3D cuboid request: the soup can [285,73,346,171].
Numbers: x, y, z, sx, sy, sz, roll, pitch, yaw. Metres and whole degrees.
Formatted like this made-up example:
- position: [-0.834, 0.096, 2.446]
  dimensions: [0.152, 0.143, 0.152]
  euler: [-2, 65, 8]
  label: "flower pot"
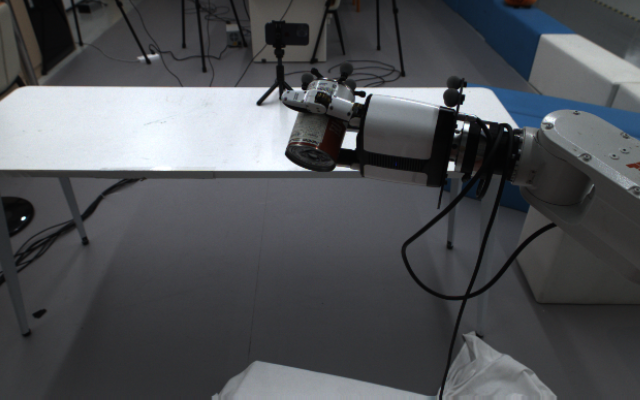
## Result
- position: [0.002, -0.098, 0.624]
  dimensions: [0.067, 0.067, 0.101]
  euler: [12, 70, 14]
  label: "soup can"
